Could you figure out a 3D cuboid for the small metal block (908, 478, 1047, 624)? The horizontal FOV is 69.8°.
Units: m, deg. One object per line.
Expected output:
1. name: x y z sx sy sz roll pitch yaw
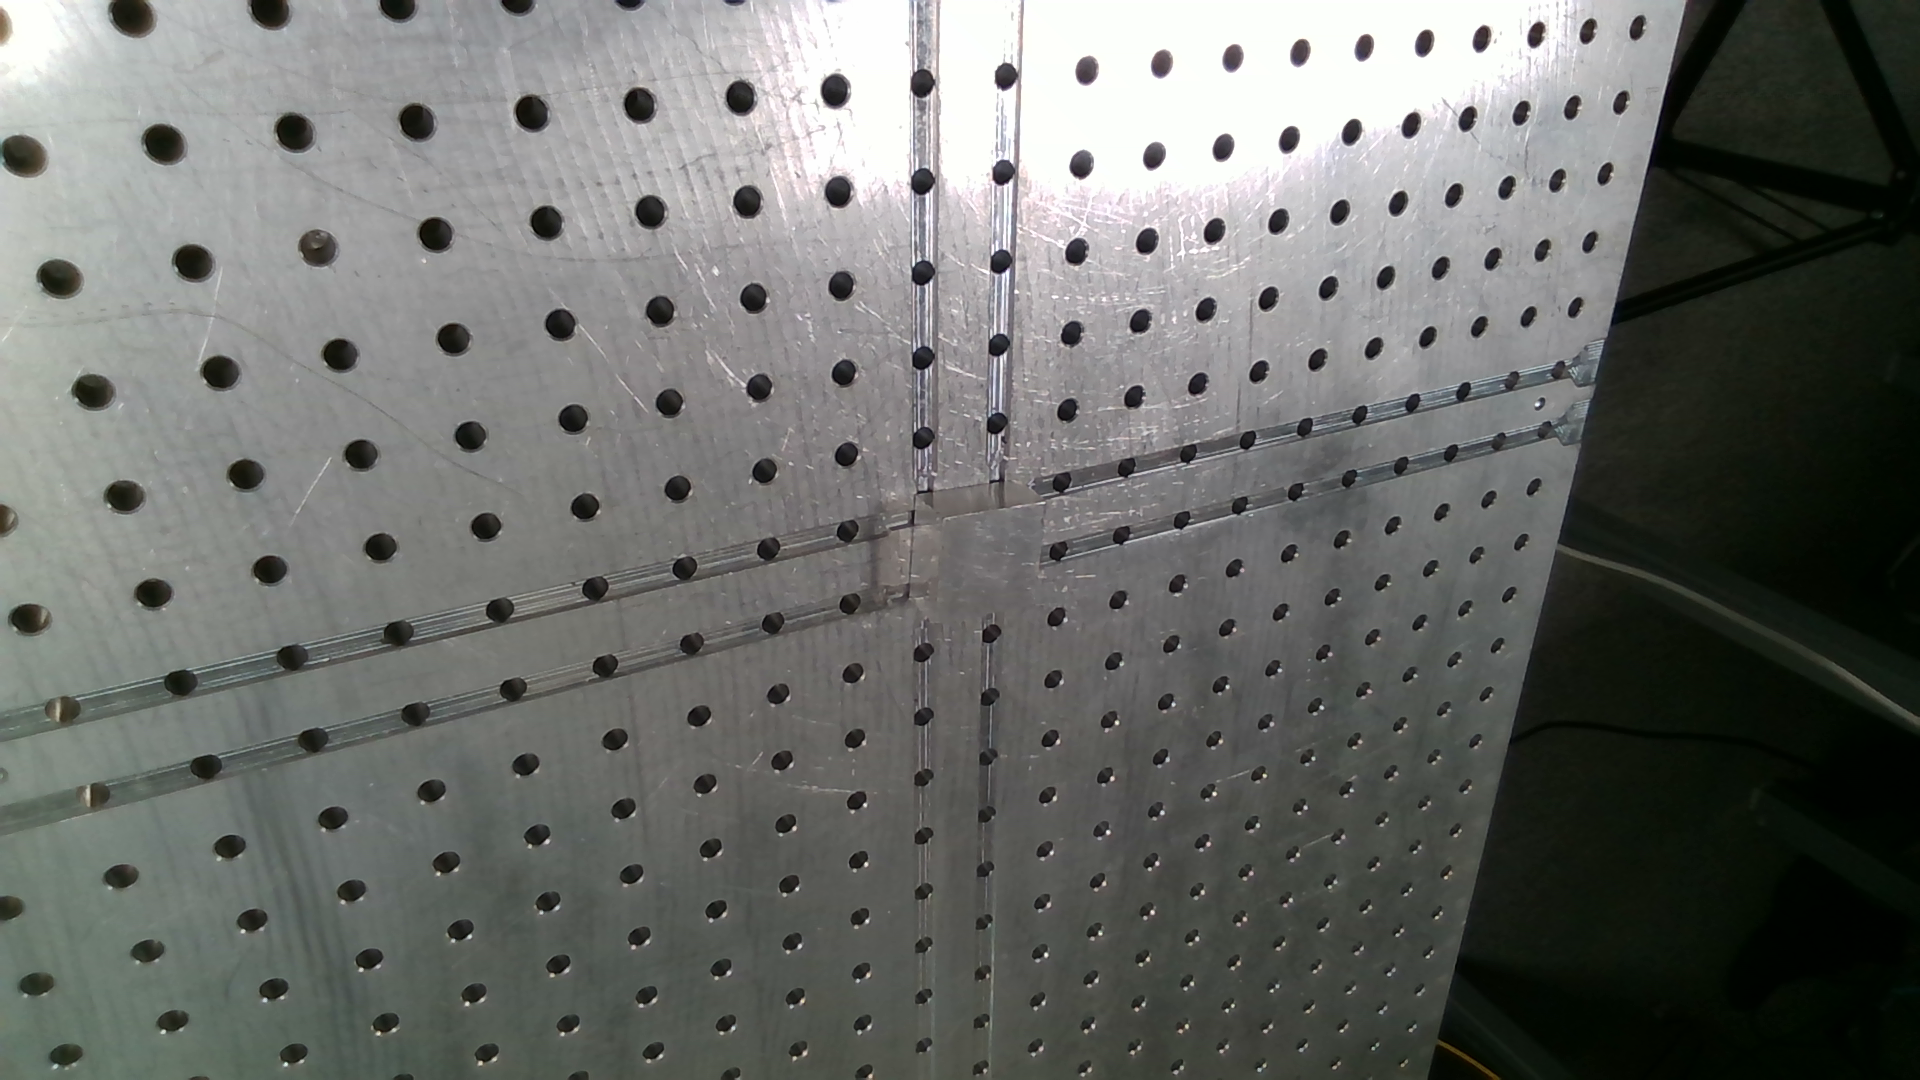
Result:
1. small metal block: 0.007 0.004 0.590 0.050 0.025 0.050 -10 119 -27
